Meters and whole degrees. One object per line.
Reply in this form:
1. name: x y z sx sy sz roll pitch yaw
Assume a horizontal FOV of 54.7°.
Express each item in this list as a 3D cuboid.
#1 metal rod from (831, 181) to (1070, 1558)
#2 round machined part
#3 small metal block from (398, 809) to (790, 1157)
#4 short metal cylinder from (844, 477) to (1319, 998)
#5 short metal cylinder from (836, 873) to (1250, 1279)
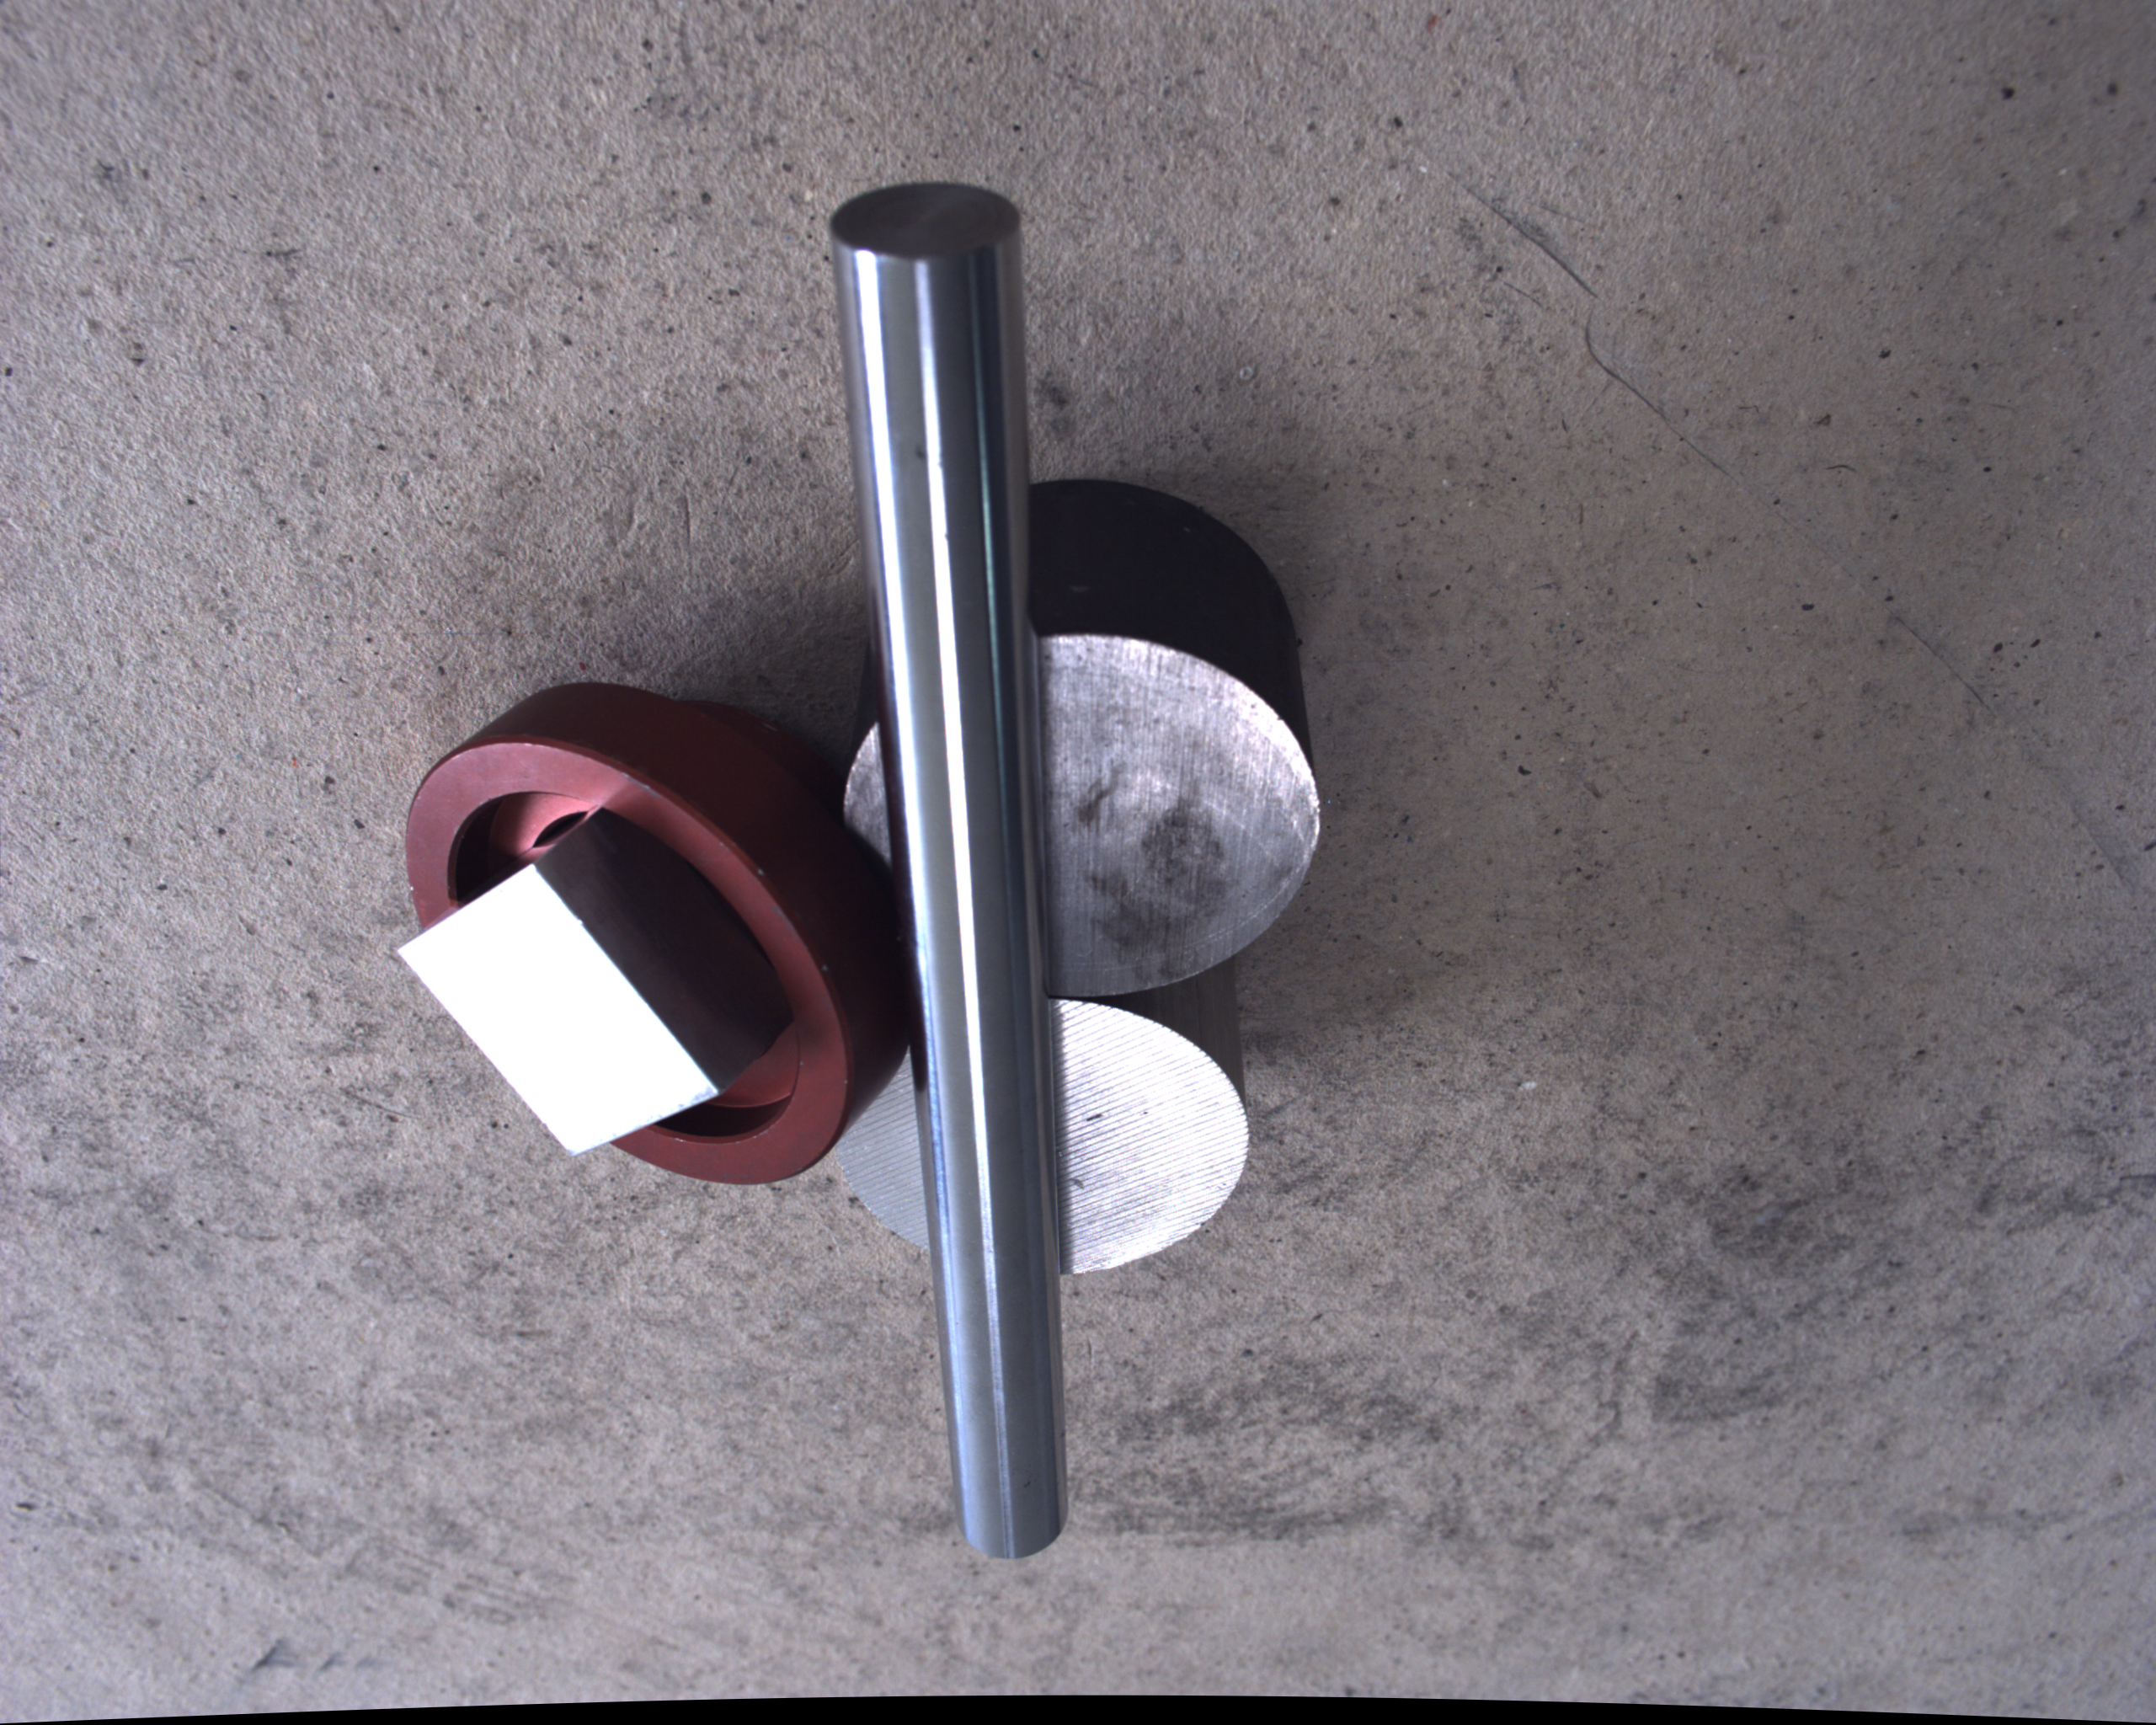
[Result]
1. metal rod: -0.017 0.030 0.369 0.025 0.025 0.298 -1 130 0
2. round machined part: -0.072 0.009 0.388 0.098 0.042 0.097 18 131 22
3. small metal block: -0.085 0.021 0.372 0.050 0.025 0.050 -25 106 43
4. short metal cylinder: 0.001 -0.022 0.374 0.081 0.050 0.079 0 130 0
5. short metal cylinder: -0.007 0.040 0.426 0.081 0.050 0.079 0 129 0
